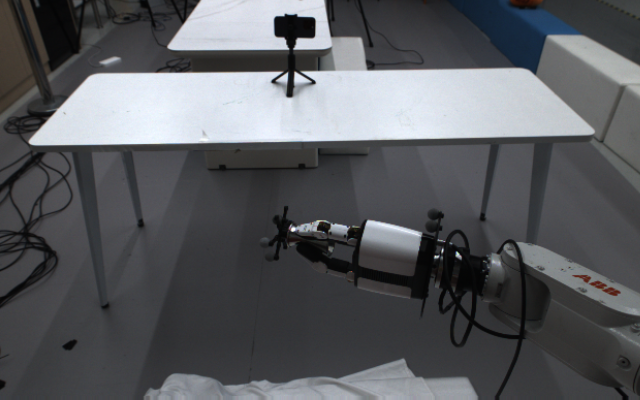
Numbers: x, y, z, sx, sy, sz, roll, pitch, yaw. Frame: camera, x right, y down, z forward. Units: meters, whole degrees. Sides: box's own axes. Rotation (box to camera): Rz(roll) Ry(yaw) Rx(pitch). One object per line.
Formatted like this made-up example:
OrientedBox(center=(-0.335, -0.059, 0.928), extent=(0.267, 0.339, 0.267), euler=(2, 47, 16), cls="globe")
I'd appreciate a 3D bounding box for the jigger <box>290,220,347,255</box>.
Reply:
OrientedBox(center=(-0.008, 0.055, 0.753), extent=(0.071, 0.043, 0.043), euler=(9, 35, 16), cls="jigger")
